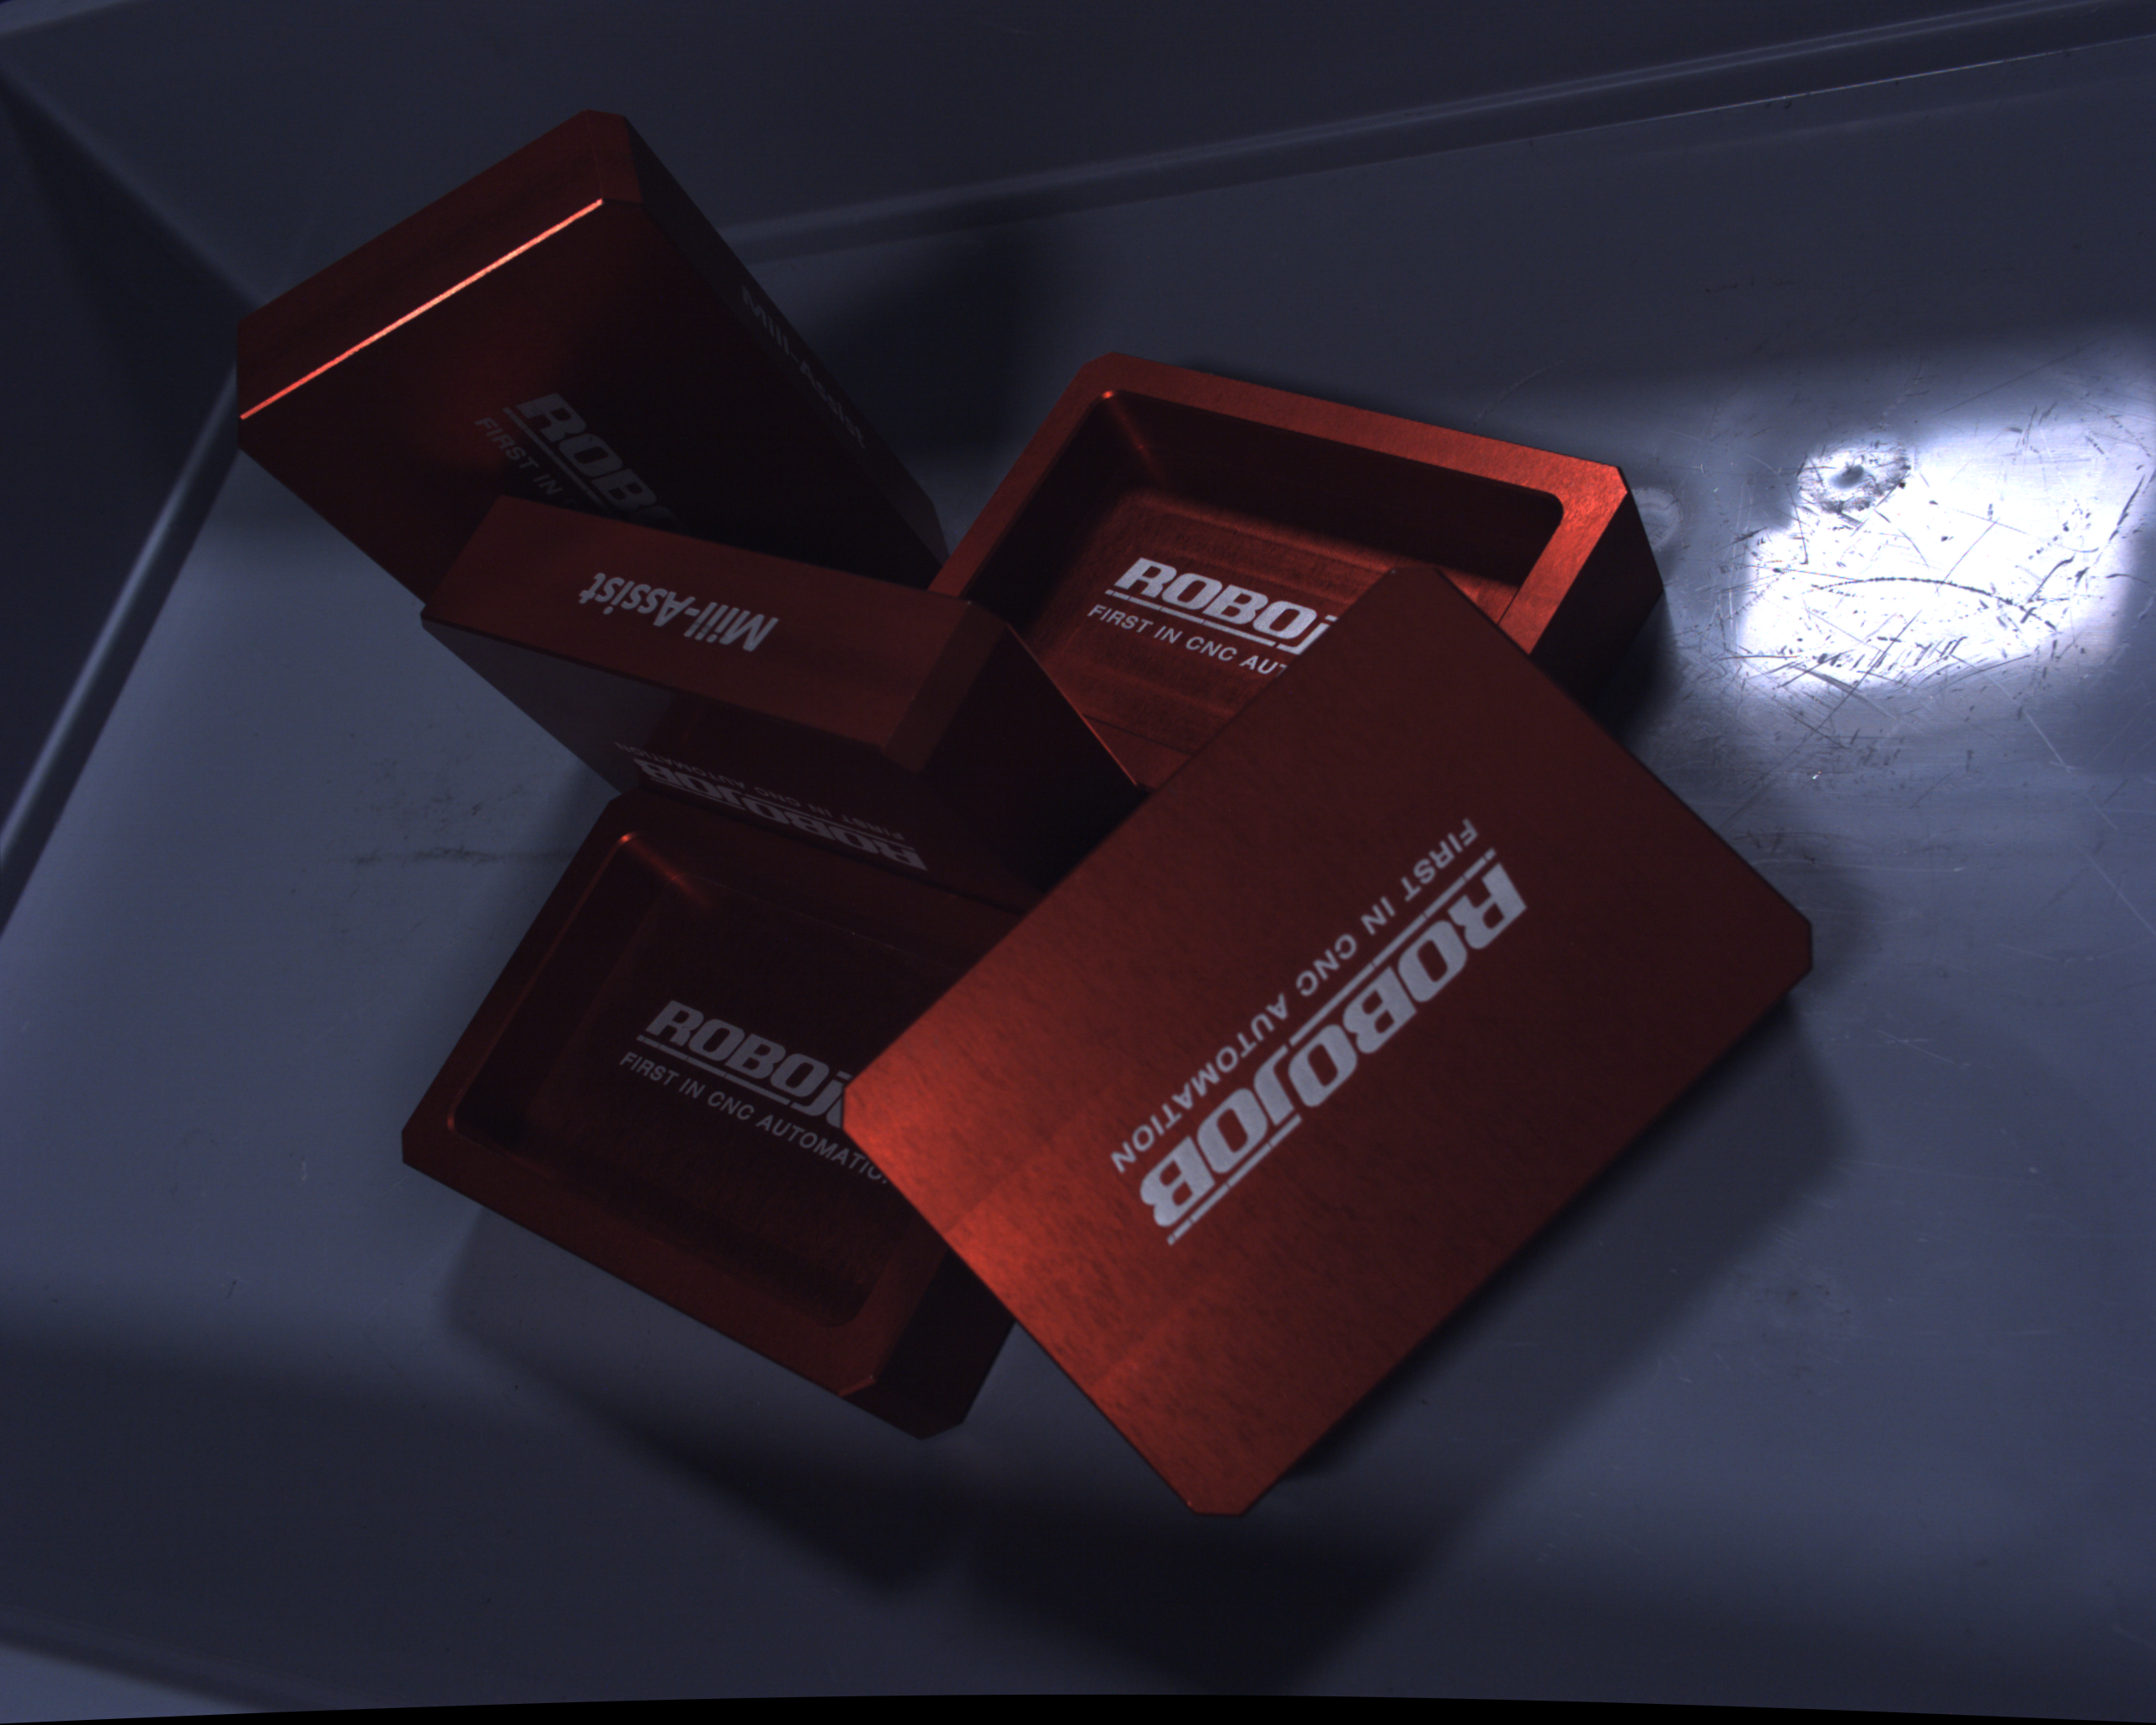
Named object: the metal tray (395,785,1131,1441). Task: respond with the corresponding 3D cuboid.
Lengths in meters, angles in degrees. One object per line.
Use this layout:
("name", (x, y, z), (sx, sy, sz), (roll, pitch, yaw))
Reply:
("metal tray", (-0.061, 0.043, 0.403), (0.130, 0.030, 0.090), (17, 70, 34))

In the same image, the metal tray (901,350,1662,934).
("metal tray", (0.034, -0.047, 0.410), (0.130, 0.030, 0.090), (23, 74, 36))

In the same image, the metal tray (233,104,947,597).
("metal tray", (-0.095, -0.081, 0.433), (0.090, 0.130, 0.030), (-27, 53, 12))

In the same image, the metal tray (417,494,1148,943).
("metal tray", (-0.053, -0.024, 0.401), (0.130, 0.090, 0.030), (17, 71, 34))

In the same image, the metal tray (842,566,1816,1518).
("metal tray", (0.039, 0.028, 0.337), (0.130, 0.030, 0.090), (-43, 80, -2))
